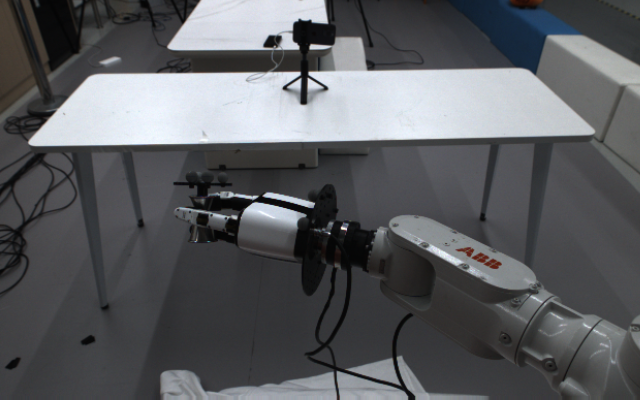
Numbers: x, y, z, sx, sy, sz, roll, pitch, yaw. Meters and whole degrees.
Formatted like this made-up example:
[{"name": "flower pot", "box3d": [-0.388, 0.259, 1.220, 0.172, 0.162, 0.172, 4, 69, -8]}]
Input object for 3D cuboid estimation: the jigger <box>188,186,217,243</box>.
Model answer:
[{"name": "jigger", "box3d": [-0.173, 0.027, 0.719, 0.043, 0.071, 0.043, 0, 3, 0]}]
